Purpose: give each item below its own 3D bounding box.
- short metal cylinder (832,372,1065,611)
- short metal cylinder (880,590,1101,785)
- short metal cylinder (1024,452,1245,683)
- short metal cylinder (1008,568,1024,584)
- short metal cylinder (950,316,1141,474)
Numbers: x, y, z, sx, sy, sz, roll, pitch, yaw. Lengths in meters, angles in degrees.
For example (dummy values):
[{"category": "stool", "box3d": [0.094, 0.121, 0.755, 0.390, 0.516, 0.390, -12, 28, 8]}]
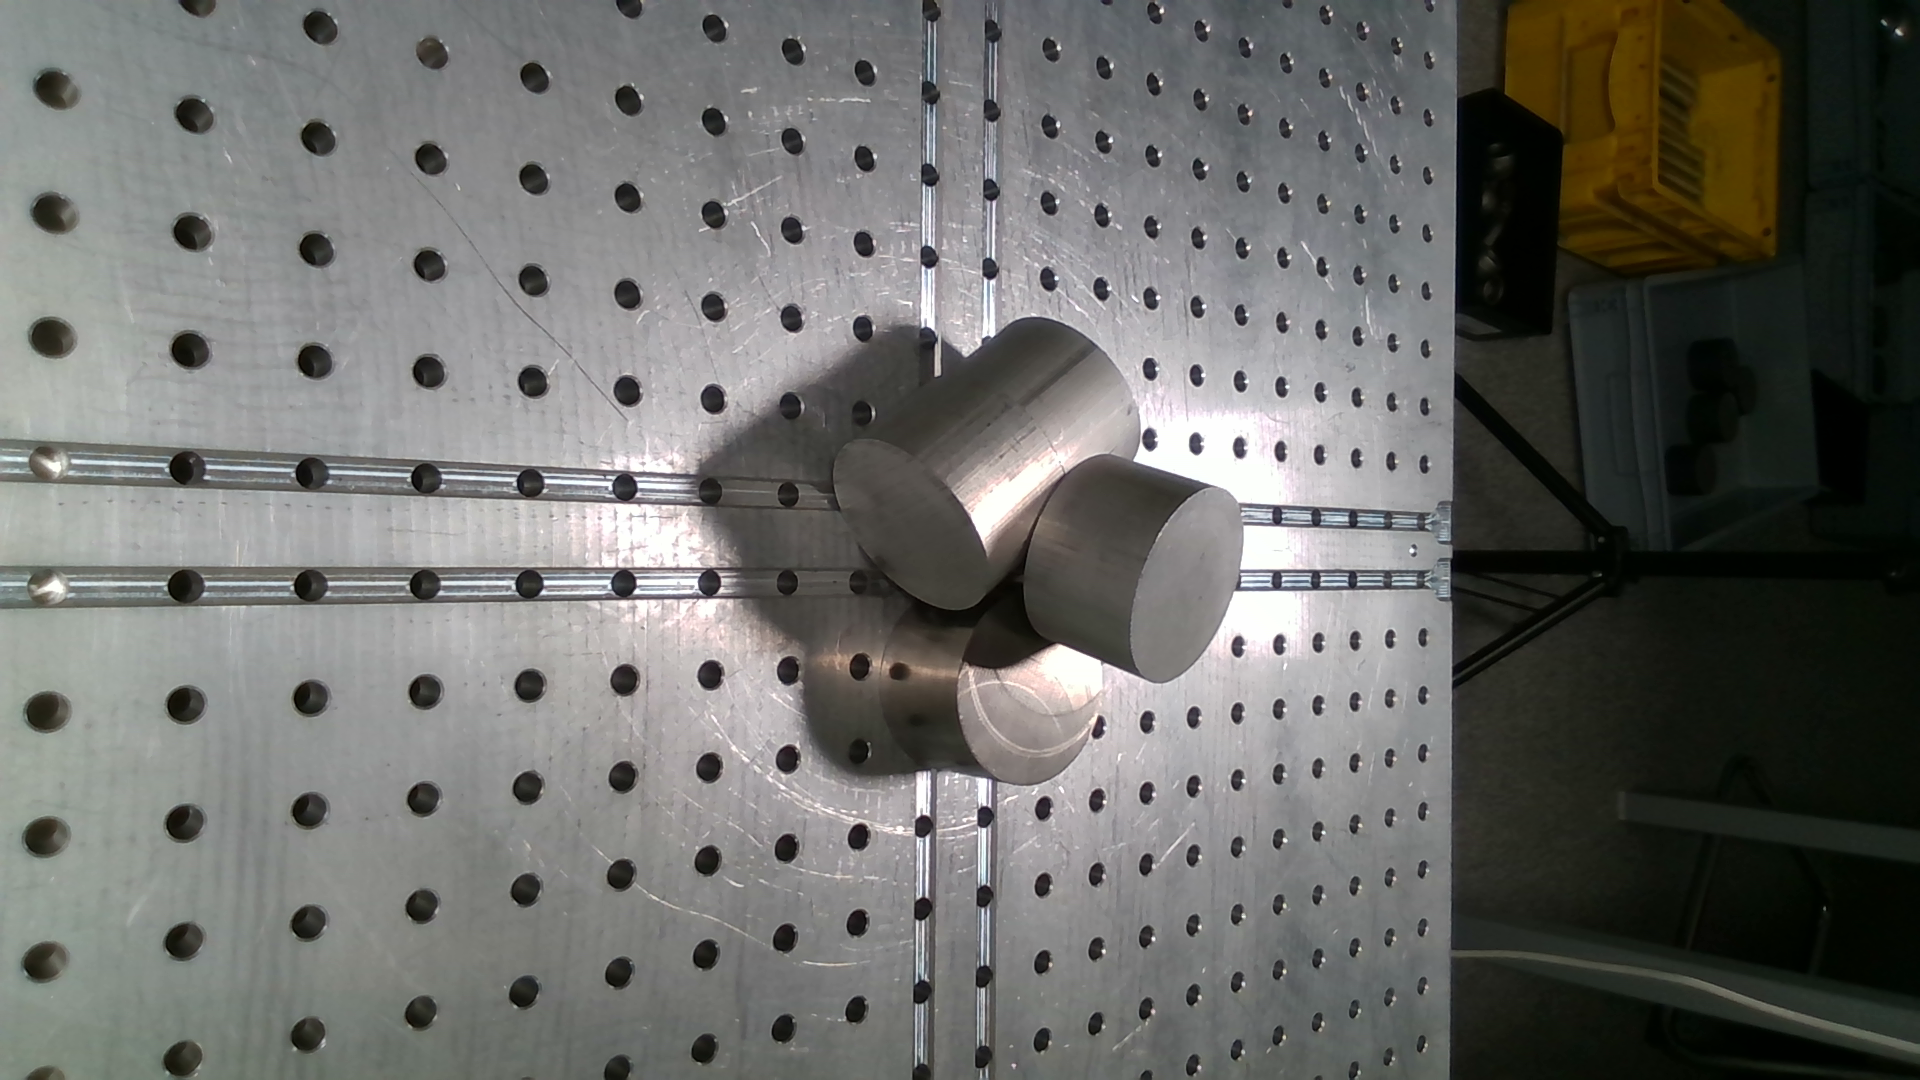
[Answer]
[{"category": "short metal cylinder", "box3d": [-0.004, -0.019, 0.546, 0.050, 0.080, 0.080, -42, 115, -32]}, {"category": "short metal cylinder", "box3d": [0.013, 0.060, 0.580, 0.080, 0.050, 0.080, 0, 90, -40]}, {"category": "short metal cylinder", "box3d": [0.070, 0.010, 0.545, 0.080, 0.050, 0.080, -28, 128, -42]}, {"category": "short metal cylinder", "box3d": [0.065, 0.015, 0.623, 0.080, 0.050, 0.080, 0, 90, -40]}, {"category": "short metal cylinder", "box3d": [0.028, -0.046, 0.574, 0.050, 0.080, 0.080, -42, 115, -32]}]
